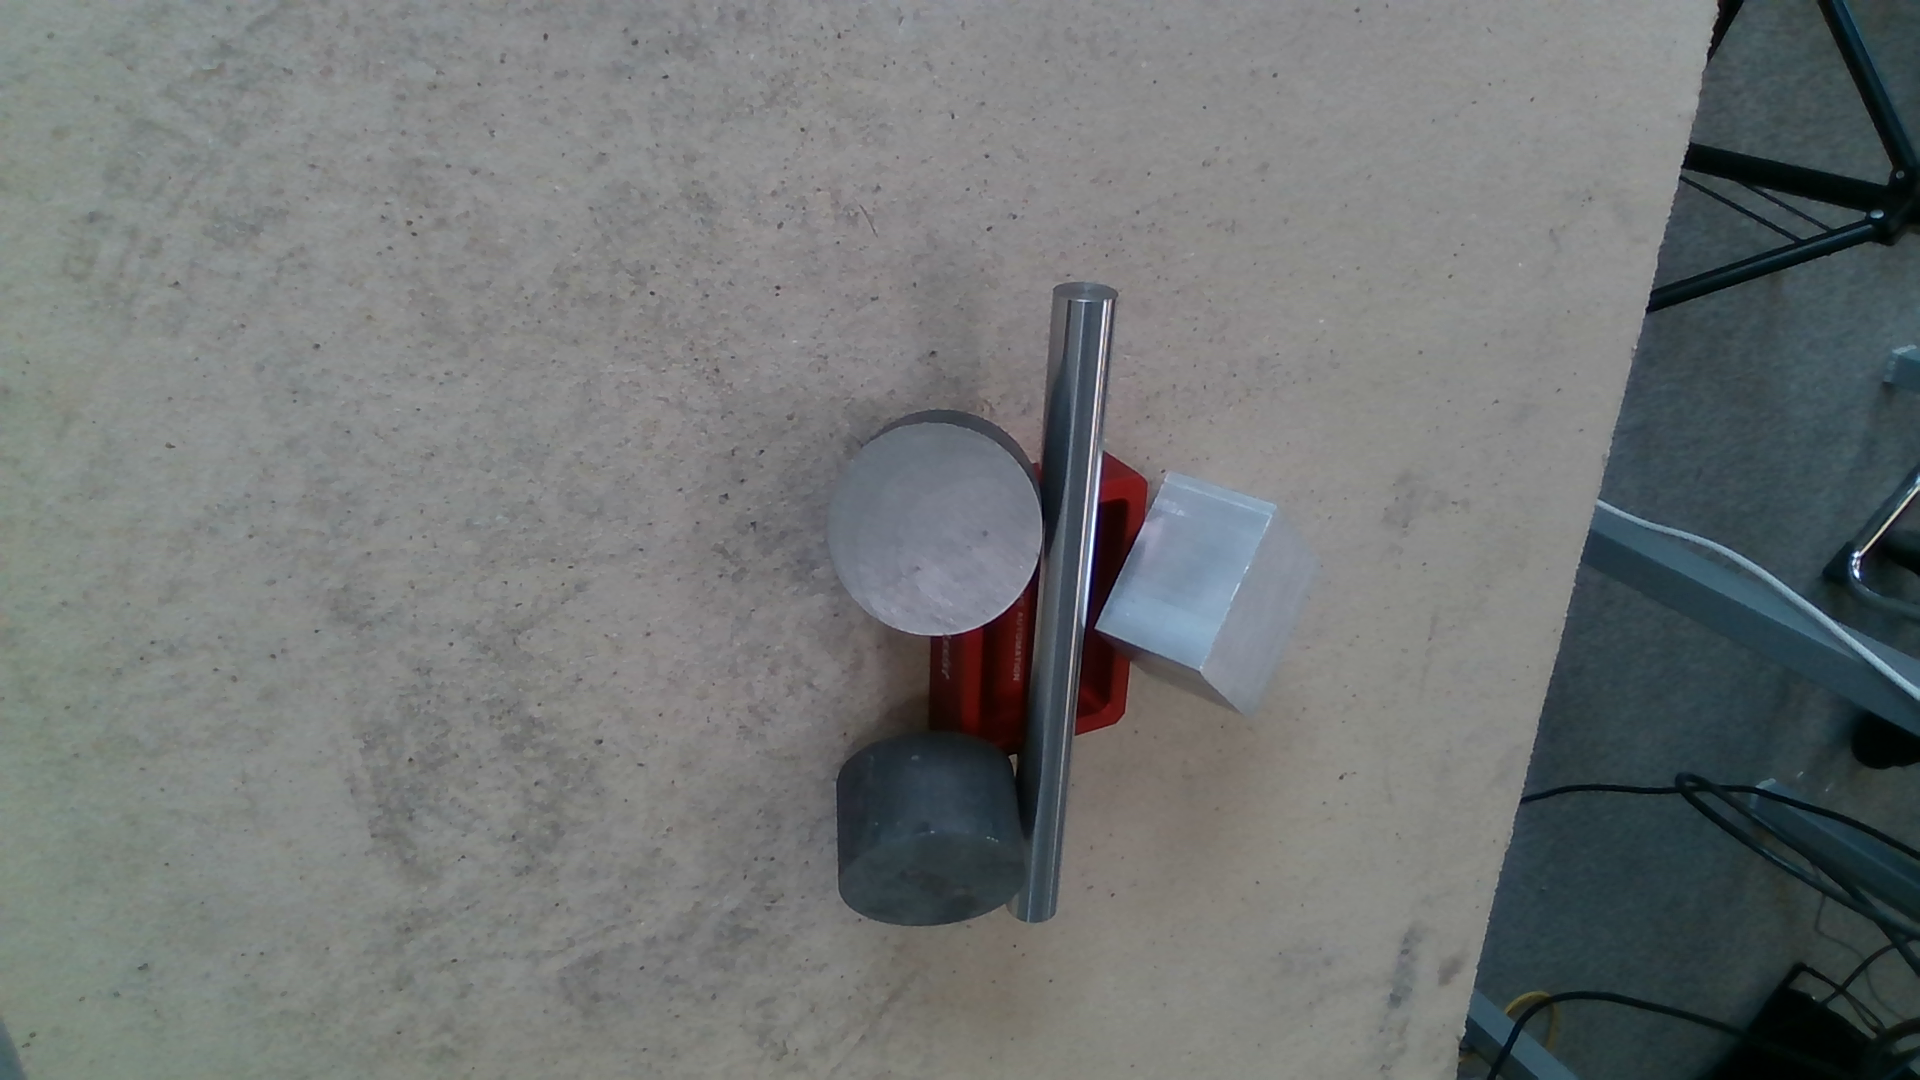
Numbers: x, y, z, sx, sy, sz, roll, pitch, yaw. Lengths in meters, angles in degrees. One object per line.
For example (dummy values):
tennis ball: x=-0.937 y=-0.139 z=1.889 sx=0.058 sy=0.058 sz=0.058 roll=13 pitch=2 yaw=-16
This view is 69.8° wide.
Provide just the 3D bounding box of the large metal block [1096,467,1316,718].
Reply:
large metal block: x=0.114 y=0.025 z=0.621 sx=0.080 sy=0.050 sz=0.080 roll=-64 pitch=146 yaw=-8

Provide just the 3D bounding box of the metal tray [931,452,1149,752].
metal tray: x=0.034 y=0.030 z=0.616 sx=0.090 sy=0.030 sz=0.130 roll=-13 pitch=121 yaw=-26

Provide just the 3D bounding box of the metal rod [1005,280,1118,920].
metal rod: x=0.041 y=0.039 z=0.589 sx=0.025 sy=0.025 sz=0.301 roll=-12 pitch=120 yaw=-26

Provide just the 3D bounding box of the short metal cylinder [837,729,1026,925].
short metal cylinder: x=-0.014 y=0.127 z=0.604 sx=0.080 sy=0.050 sz=0.080 roll=-4 pitch=138 yaw=-4

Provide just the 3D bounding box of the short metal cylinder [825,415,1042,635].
short metal cylinder: x=-0.009 y=-0.009 z=0.532 sx=0.080 sy=0.050 sz=0.080 roll=1 pitch=101 yaw=3
